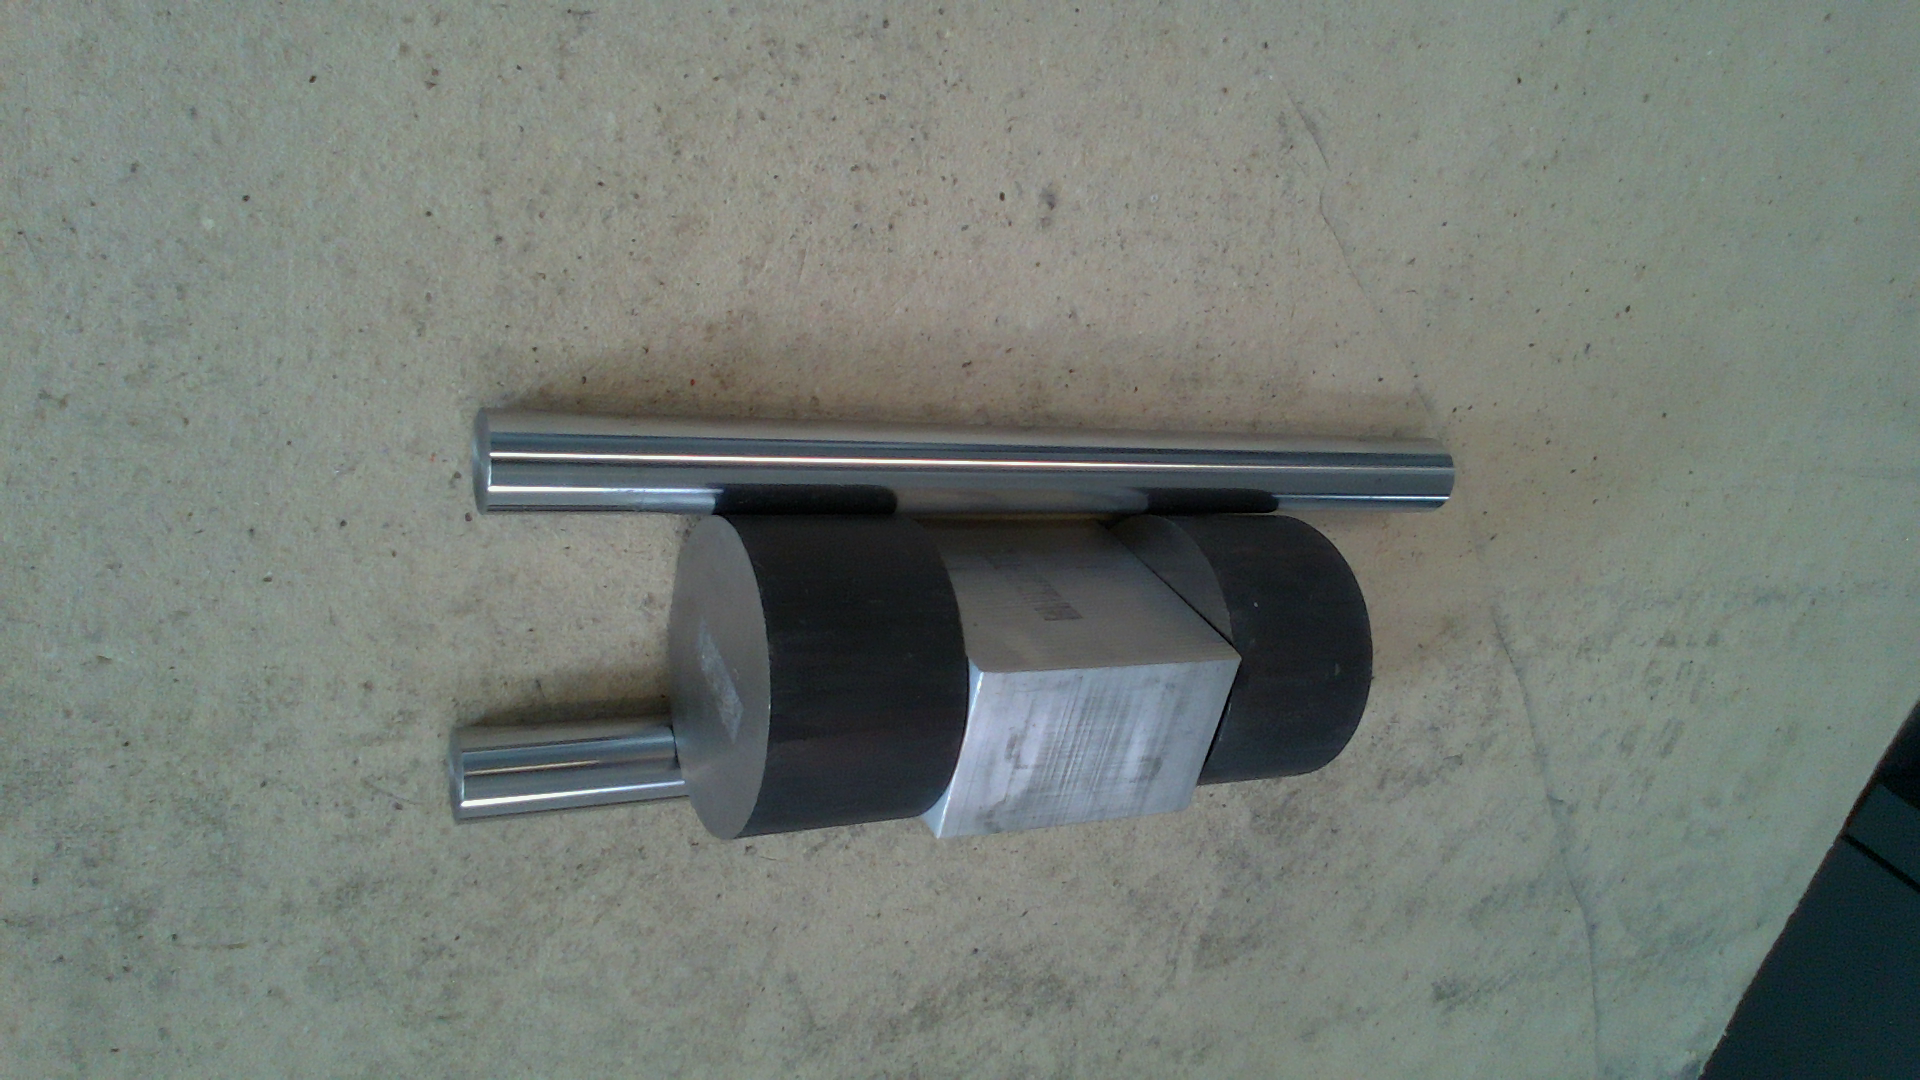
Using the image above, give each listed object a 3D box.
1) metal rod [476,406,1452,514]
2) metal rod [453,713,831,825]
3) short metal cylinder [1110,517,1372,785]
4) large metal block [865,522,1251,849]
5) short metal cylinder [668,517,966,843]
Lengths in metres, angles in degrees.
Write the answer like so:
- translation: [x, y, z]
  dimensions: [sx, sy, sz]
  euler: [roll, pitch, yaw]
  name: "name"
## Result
- translation: [0.022, -0.020, 0.389]
  dimensions: [0.301, 0.025, 0.025]
  euler: [-1, 119, -28]
  name: "metal rod"
- translation: [0.002, 0.059, 0.427]
  dimensions: [0.301, 0.025, 0.025]
  euler: [-1, 119, -28]
  name: "metal rod"
- translation: [0.077, 0.033, 0.415]
  dimensions: [0.050, 0.080, 0.080]
  euler: [-1, 119, -28]
  name: "short metal cylinder"
- translation: [0.019, 0.036, 0.383]
  dimensions: [0.080, 0.080, 0.050]
  euler: [0, 119, -28]
  name: "large metal block"
- translation: [-0.039, 0.034, 0.353]
  dimensions: [0.050, 0.080, 0.080]
  euler: [-1, 119, -28]
  name: "short metal cylinder"
